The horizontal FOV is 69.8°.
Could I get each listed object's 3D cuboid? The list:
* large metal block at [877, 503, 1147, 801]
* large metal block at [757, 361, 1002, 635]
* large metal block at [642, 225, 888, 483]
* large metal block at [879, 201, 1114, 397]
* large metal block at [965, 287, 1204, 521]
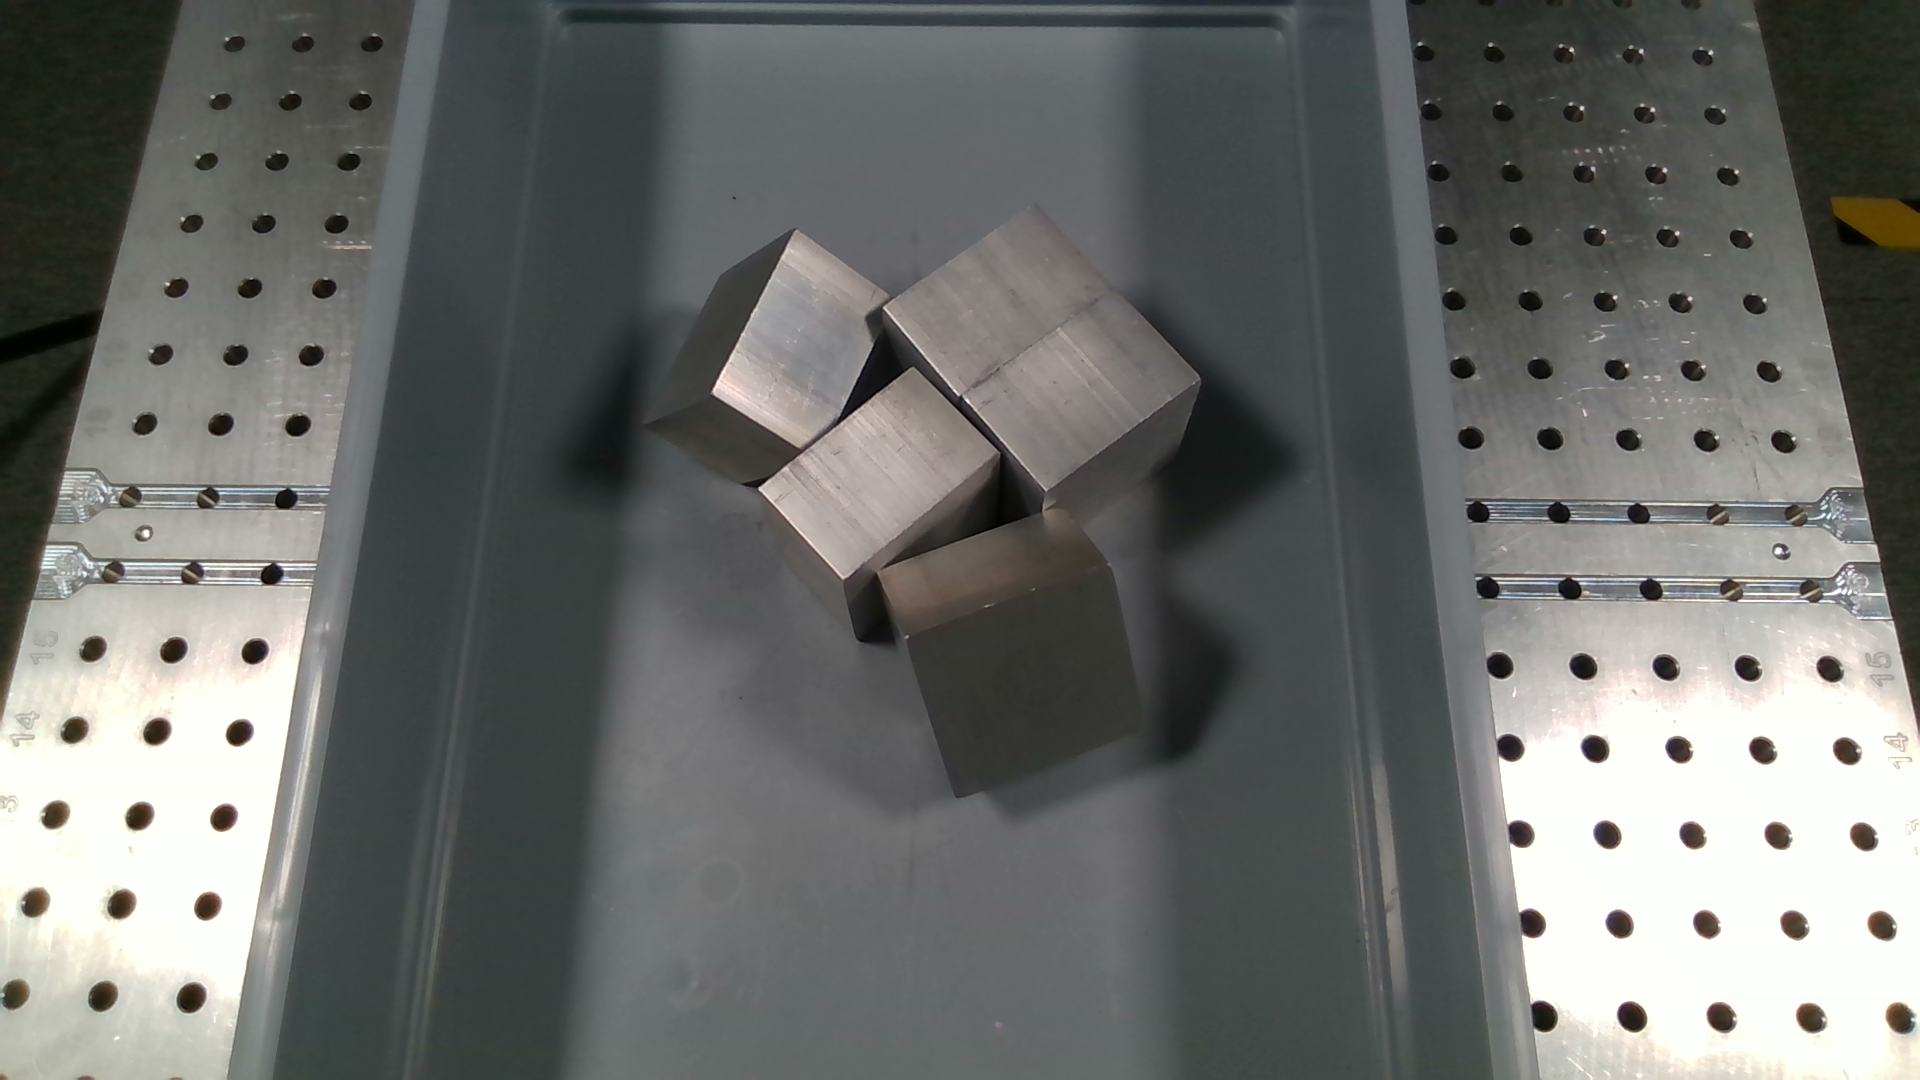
[{"bbox_3d":[0.020,0.043,0.536,0.080,0.080,0.050,-20,31,-7],"label":"large metal block"},{"bbox_3d":[-0.031,-0.014,0.562,0.080,0.080,0.050,-40,75,-13],"label":"large metal block"},{"bbox_3d":[-0.082,-0.075,0.577,0.050,0.080,0.080,32,70,-26],"label":"large metal block"},{"bbox_3d":[0.015,-0.084,0.588,0.080,0.080,0.050,-36,74,-12],"label":"large metal block"},{"bbox_3d":[0.049,-0.046,0.574,0.080,0.080,0.050,-37,74,-12],"label":"large metal block"}]
